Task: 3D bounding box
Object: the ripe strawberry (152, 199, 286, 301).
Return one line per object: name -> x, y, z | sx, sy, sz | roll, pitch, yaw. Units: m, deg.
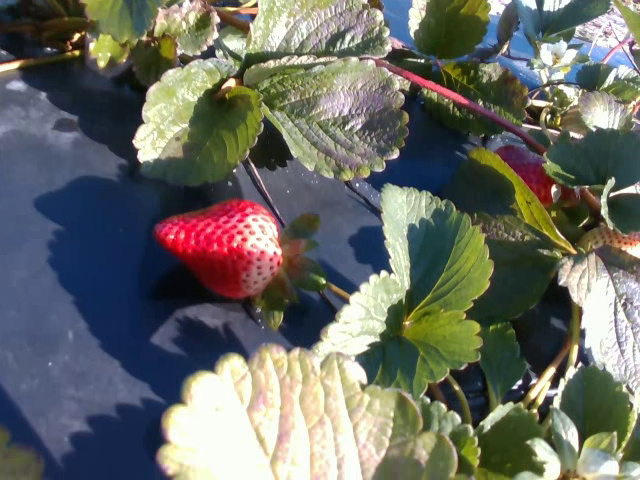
ripe strawberry -> -0.034, 0.003, 0.213 | 0.056, 0.041, 0.044 | 13, -8, -26
